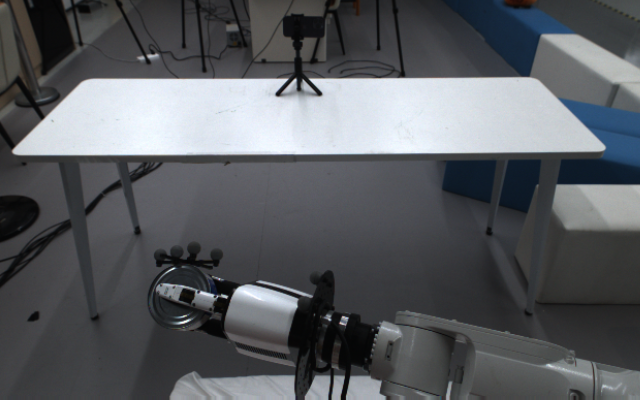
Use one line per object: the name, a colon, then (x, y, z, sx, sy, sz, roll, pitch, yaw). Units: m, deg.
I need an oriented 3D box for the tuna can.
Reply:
tuna can: (-0.175, 0.132, 0.643, 0.085, 0.034, 0.085, -2, 69, 6)
